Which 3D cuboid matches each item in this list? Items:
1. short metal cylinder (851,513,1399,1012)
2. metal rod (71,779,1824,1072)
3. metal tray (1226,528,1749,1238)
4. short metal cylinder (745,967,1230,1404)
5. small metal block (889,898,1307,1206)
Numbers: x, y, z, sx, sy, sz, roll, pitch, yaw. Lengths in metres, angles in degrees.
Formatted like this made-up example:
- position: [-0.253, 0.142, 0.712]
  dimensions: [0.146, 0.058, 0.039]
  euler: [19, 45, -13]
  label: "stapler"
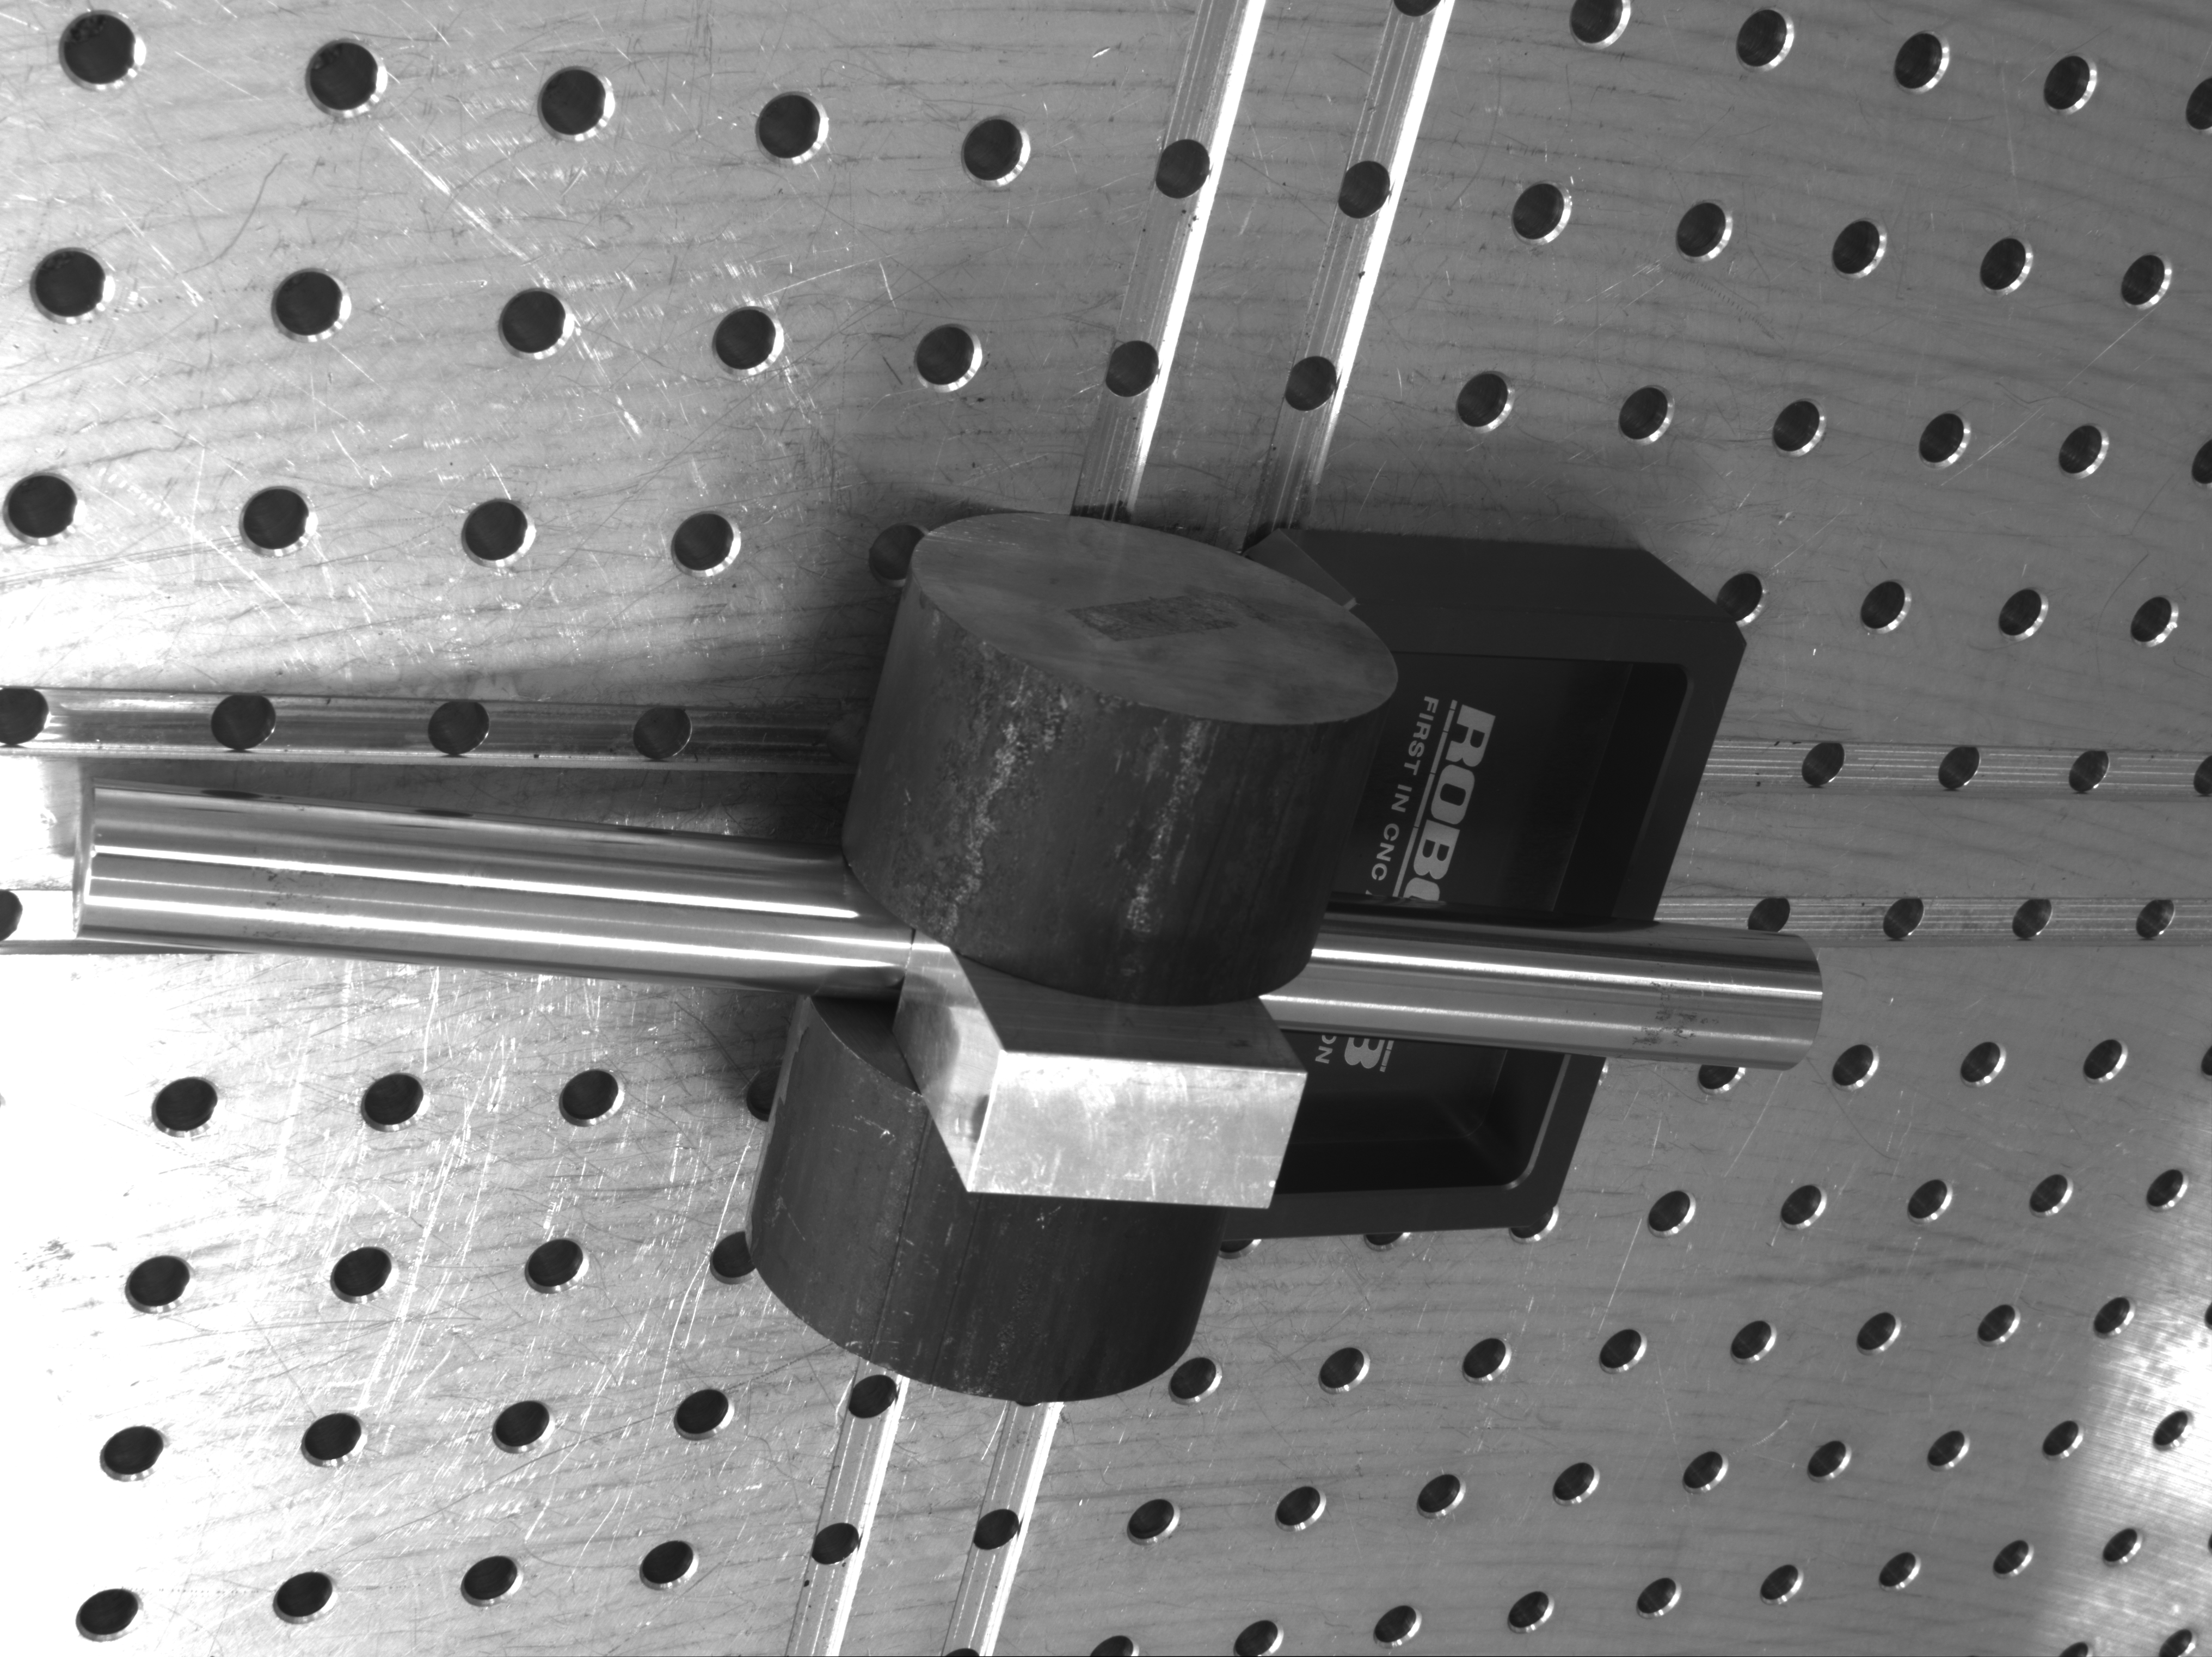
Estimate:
- position: [0.002, -0.012, 0.598]
  dimensions: [0.080, 0.080, 0.050]
  euler: [1, 118, -28]
  label: "short metal cylinder"
- position: [-0.016, 0.018, 0.613]
  dimensions: [0.301, 0.025, 0.025]
  euler: [5, 116, -21]
  label: "metal rod"
- position: [0.056, 0.012, 0.675]
  dimensions: [0.090, 0.030, 0.130]
  euler: [1, 118, -29]
  label: "metal tray"
- position: [-0.017, 0.054, 0.629]
  dimensions: [0.080, 0.080, 0.050]
  euler: [1, 118, -29]
  label: "short metal cylinder"
- position: [-0.002, 0.035, 0.584]
  dimensions: [0.050, 0.050, 0.025]
  euler: [5, 116, -21]
  label: "small metal block"
